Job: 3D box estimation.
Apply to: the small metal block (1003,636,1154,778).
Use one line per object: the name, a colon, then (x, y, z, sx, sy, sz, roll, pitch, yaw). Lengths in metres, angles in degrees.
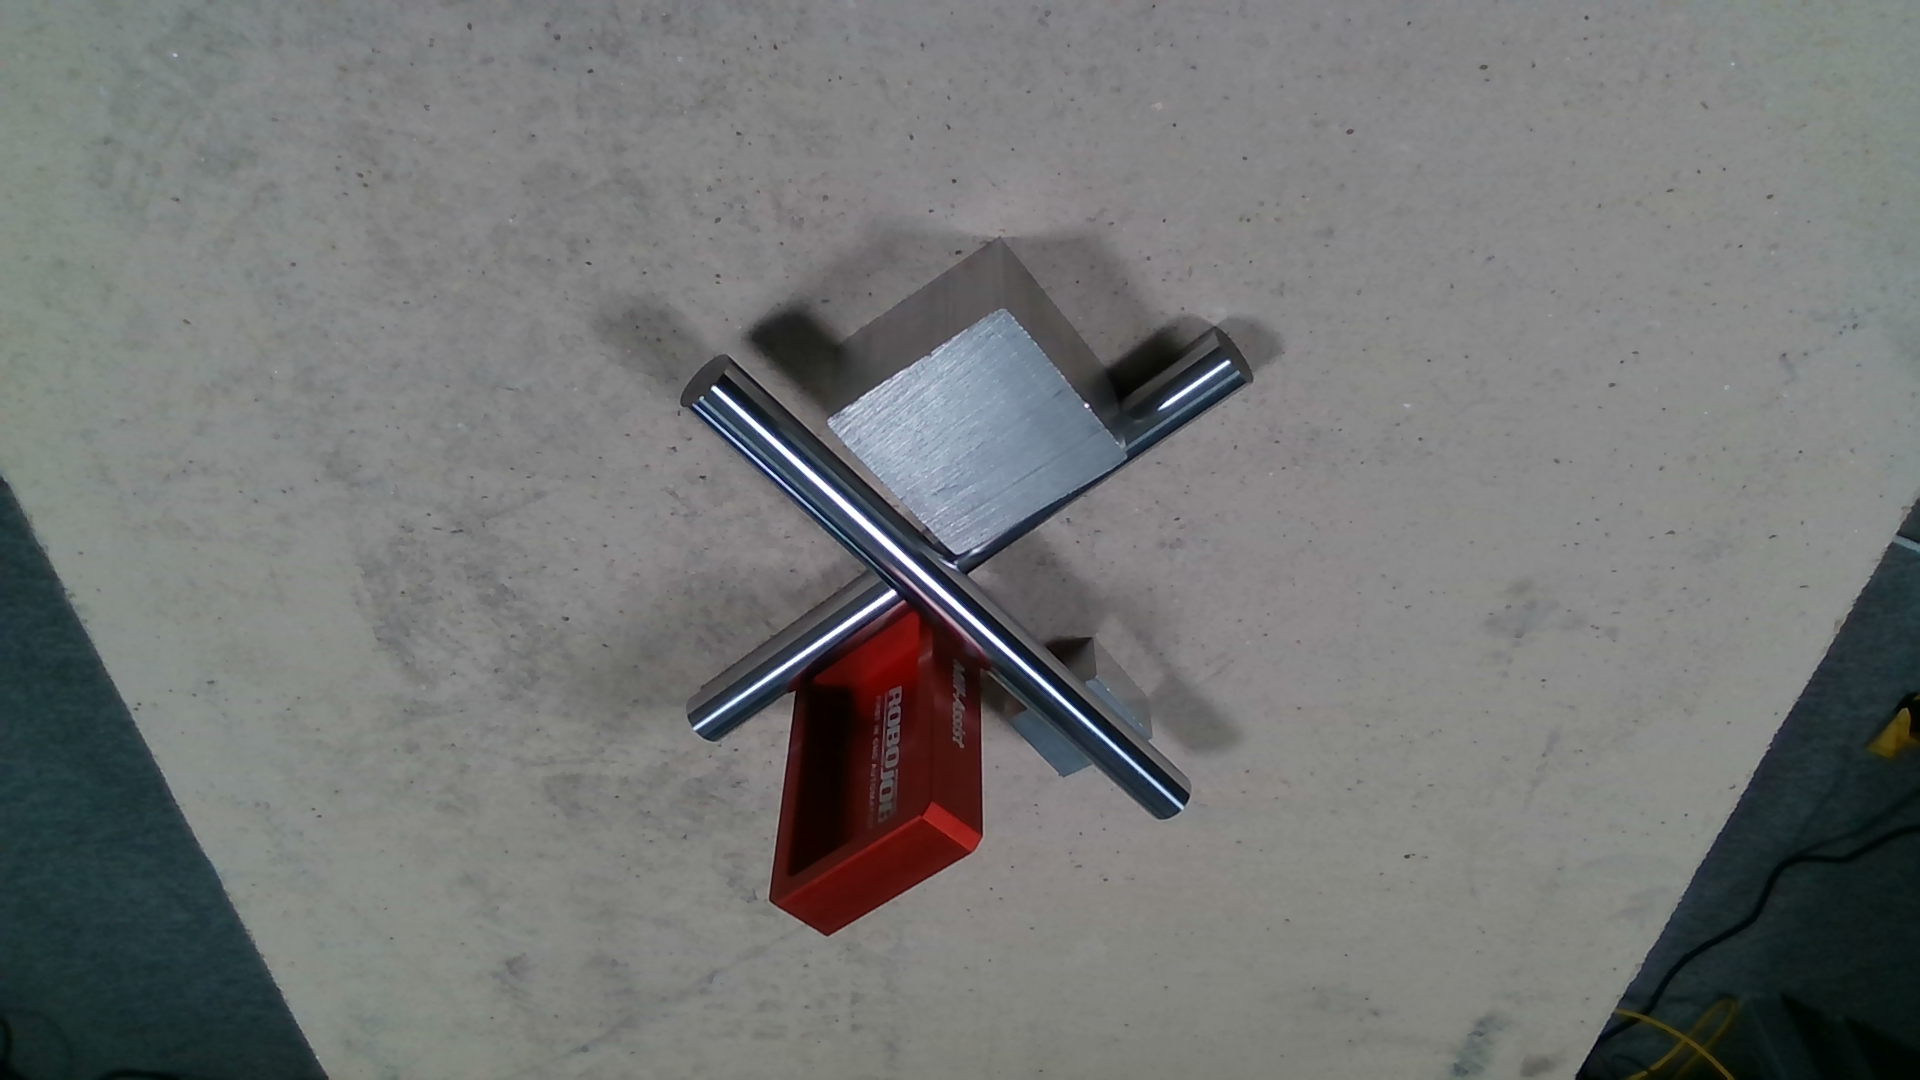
small metal block: (0.055, 0.079, 0.645, 0.050, 0.025, 0.050, -29, 124, 22)

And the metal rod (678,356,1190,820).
metal rod: (0.002, 0.032, 0.573, 0.025, 0.025, 0.301, -32, 123, 24)

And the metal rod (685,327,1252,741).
metal rod: (-0.008, 0.007, 0.585, 0.300, 0.025, 0.025, -35, 122, 25)

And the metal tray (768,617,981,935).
metal tray: (-0.034, 0.091, 0.586, 0.090, 0.130, 0.030, -35, 121, 25)

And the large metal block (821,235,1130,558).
large metal block: (0.006, -0.052, 0.518, 0.080, 0.050, 0.080, -30, 124, 23)
